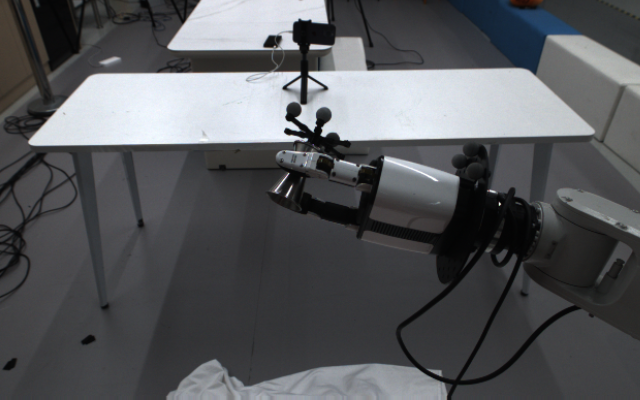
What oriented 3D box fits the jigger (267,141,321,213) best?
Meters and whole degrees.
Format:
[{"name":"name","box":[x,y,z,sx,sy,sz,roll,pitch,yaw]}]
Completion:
[{"name":"jigger","box":[-0.026,-0.029,0.535,0.043,0.043,0.071,20,72,23]}]
